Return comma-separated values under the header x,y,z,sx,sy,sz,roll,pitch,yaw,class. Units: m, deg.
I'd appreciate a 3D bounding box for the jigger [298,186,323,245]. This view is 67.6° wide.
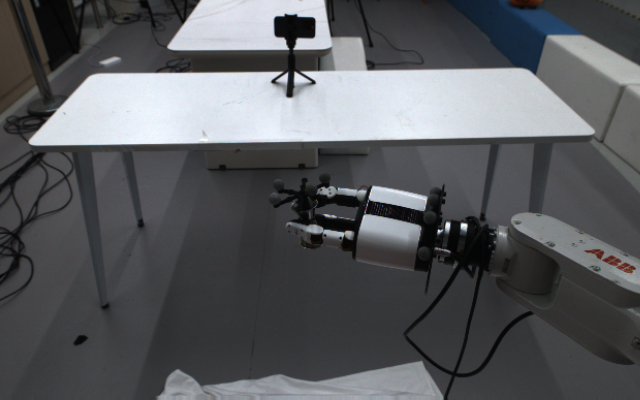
x,y,z,sx,sy,sz,roll,pitch,yaw,class
-0.016,0.033,0.725,0.043,0.071,0.043,-10,32,6,jigger
